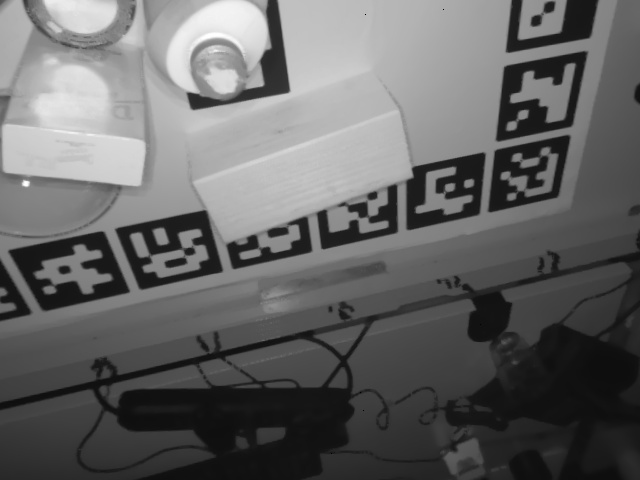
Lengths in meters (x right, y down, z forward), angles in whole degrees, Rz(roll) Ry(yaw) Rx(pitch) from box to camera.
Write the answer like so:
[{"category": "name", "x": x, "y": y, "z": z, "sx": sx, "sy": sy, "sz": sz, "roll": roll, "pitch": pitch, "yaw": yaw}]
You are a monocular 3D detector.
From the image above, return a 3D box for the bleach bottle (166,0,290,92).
[{"category": "bleach bottle", "x": -0.059, "y": -0.183, "z": 0.485, "sx": 0.102, "sy": 0.251, "sz": 0.068, "roll": -30, "pitch": 133, "yaw": 10}]

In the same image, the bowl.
[{"category": "bowl", "x": -0.266, "y": -0.083, "z": 0.638, "sx": 0.163, "sy": 0.055, "sz": 0.160, "roll": -12, "pitch": 133, "yaw": -13}]

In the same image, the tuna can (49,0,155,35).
[{"category": "tuna can", "x": -0.178, "y": -0.213, "z": 0.563, "sx": 0.086, "sy": 0.034, "sz": 0.085, "roll": -9, "pitch": 129, "yaw": -11}]

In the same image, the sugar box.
[{"category": "sugar box", "x": -0.180, "y": -0.118, "z": 0.549, "sx": 0.094, "sy": 0.176, "sz": 0.045, "roll": 4, "pitch": 127, "yaw": -24}]

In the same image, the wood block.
[{"category": "wood block", "x": -0.008, "y": -0.090, "z": 0.695, "sx": 0.207, "sy": 0.090, "sz": 0.090, "roll": -18, "pitch": 129, "yaw": -1}]

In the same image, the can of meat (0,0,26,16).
[{"category": "can of meat", "x": -0.259, "y": -0.204, "z": 0.520, "sx": 0.101, "sy": 0.084, "sz": 0.058, "roll": -33, "pitch": 135, "yaw": 14}]
